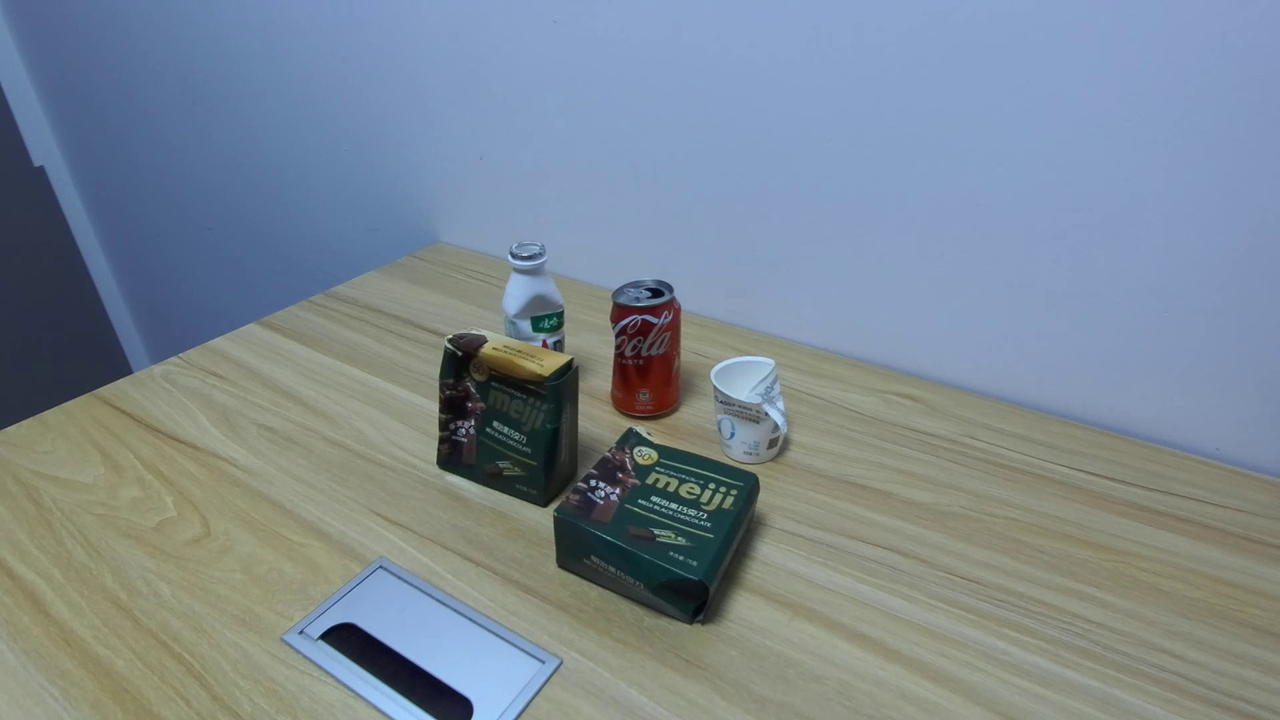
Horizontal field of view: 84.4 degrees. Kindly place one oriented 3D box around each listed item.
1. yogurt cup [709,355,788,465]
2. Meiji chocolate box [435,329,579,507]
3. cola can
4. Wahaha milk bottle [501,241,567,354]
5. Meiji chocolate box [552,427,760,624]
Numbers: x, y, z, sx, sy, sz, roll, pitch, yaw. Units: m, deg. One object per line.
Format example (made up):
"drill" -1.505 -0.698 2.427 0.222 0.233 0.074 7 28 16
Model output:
"yogurt cup" 0.090 0.043 0.590 0.067 0.070 0.067 -1 34 1
"Meiji chocolate box" -0.104 0.042 0.558 0.117 0.117 0.052 15 26 23
"cola can" 0.005 -0.009 0.635 0.065 0.117 0.072 13 32 19
"Wahaha milk bottle" -0.096 -0.033 0.646 0.056 0.148 0.056 1 33 0
"Meiji chocolate box" 0.015 0.113 0.497 0.115 0.058 0.123 18 36 22
